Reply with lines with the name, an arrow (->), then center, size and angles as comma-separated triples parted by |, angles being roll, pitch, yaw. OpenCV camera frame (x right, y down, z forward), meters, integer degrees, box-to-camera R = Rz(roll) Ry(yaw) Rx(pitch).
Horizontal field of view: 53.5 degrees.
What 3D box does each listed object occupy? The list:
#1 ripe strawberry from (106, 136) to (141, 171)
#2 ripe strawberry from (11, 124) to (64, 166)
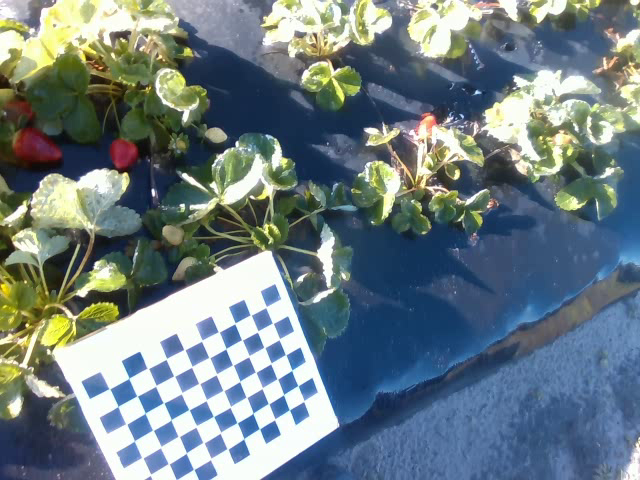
ripe strawberry -> -0.242, -0.104, 0.773 | 0.039, 0.047, 0.040 | 18, -26, -27
ripe strawberry -> -0.330, -0.109, 0.739 | 0.056, 0.044, 0.040 | 29, -20, -24
